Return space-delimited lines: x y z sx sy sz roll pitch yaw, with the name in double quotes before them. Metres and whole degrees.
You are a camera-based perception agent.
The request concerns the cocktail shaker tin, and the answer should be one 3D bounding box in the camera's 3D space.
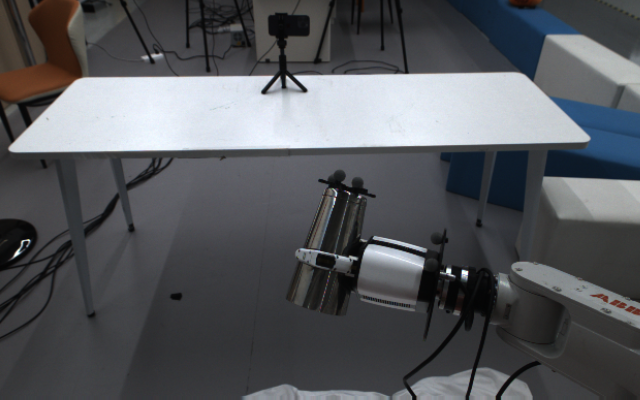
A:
"cocktail shaker tin" 0.017 0.073 0.709 0.093 0.170 0.093 15 -4 1
